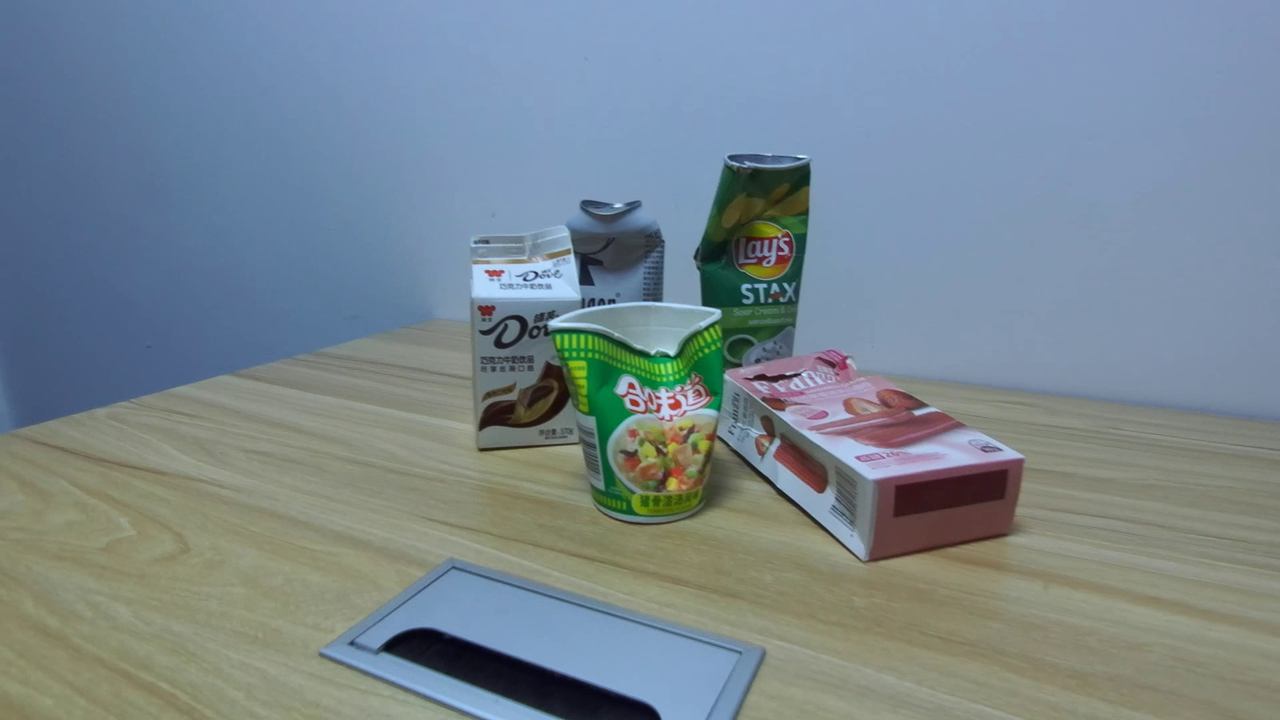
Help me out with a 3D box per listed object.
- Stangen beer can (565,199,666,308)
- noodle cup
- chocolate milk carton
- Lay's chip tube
[{"bbox_3d":[-0.025,-0.051,0.603,0.077,0.162,0.065,-6,12,-30],"label":"Stangen beer can"},{"bbox_3d":[0.006,0.027,0.408,0.082,0.122,0.075,-4,6,20],"label":"noodle cup"},{"bbox_3d":[-0.082,-0.019,0.506,0.075,0.148,0.074,-2,16,-12],"label":"chocolate milk carton"},{"bbox_3d":[0.089,-0.060,0.563,0.069,0.201,0.077,9,20,28],"label":"Lay's chip tube"}]
